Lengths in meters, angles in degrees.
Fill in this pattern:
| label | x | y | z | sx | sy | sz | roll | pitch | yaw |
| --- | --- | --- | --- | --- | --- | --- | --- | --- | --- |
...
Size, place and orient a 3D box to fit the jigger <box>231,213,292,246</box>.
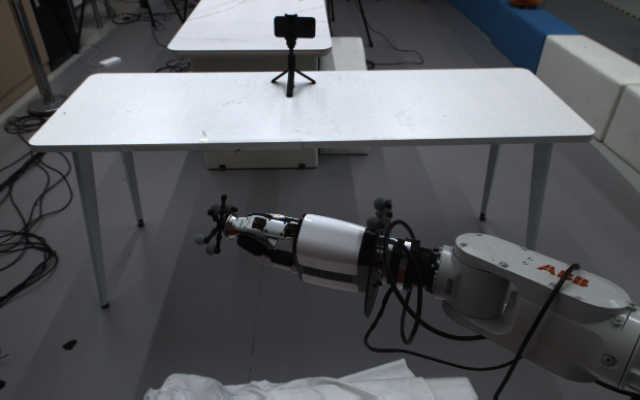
| label | x | y | z | sx | sy | sz | roll | pitch | yaw |
| --- | --- | --- | --- | --- | --- | --- | --- | --- | --- |
| jigger | -0.091 | 0.040 | 0.693 | 0.071 | 0.043 | 0.043 | 10 | 35 | 16 |
